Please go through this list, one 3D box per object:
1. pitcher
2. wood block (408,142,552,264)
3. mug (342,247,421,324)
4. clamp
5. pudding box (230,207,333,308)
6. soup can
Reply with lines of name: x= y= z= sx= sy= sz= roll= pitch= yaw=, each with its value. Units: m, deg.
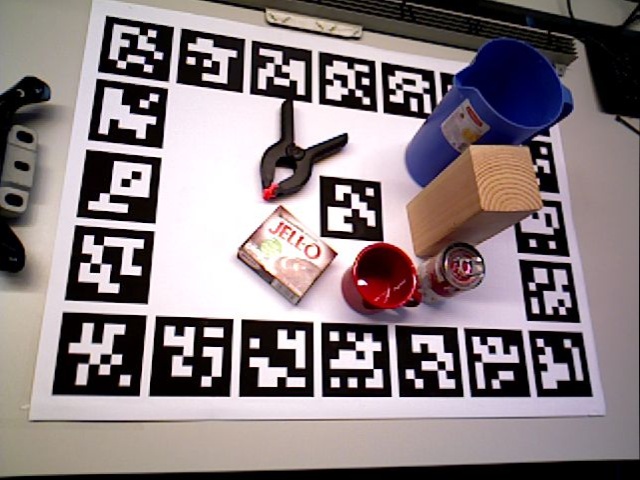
pitcher: x=0.239 y=-0.157 z=0.773 sx=0.187 sy=0.247 sz=0.132 roll=4 pitch=68 yaw=-11
wood block: x=0.211 y=-0.040 z=0.743 sx=0.089 sy=0.210 sz=0.090 roll=3 pitch=70 yaw=-18
mug: x=0.089 y=0.074 z=0.744 sx=0.117 sy=0.083 sz=0.091 roll=38 pitch=64 yaw=2
clamp: x=-0.034 y=-0.123 z=0.811 sx=0.121 sy=0.037 sz=0.162 roll=35 pitch=67 yaw=-9
pudding box: x=-0.054 y=0.025 z=0.751 sx=0.114 sy=0.039 sz=0.088 roll=40 pitch=70 yaw=2
soup can: x=0.181 y=0.061 z=0.760 sx=0.067 sy=0.104 sz=0.067 roll=4 pitch=72 yaw=-14
